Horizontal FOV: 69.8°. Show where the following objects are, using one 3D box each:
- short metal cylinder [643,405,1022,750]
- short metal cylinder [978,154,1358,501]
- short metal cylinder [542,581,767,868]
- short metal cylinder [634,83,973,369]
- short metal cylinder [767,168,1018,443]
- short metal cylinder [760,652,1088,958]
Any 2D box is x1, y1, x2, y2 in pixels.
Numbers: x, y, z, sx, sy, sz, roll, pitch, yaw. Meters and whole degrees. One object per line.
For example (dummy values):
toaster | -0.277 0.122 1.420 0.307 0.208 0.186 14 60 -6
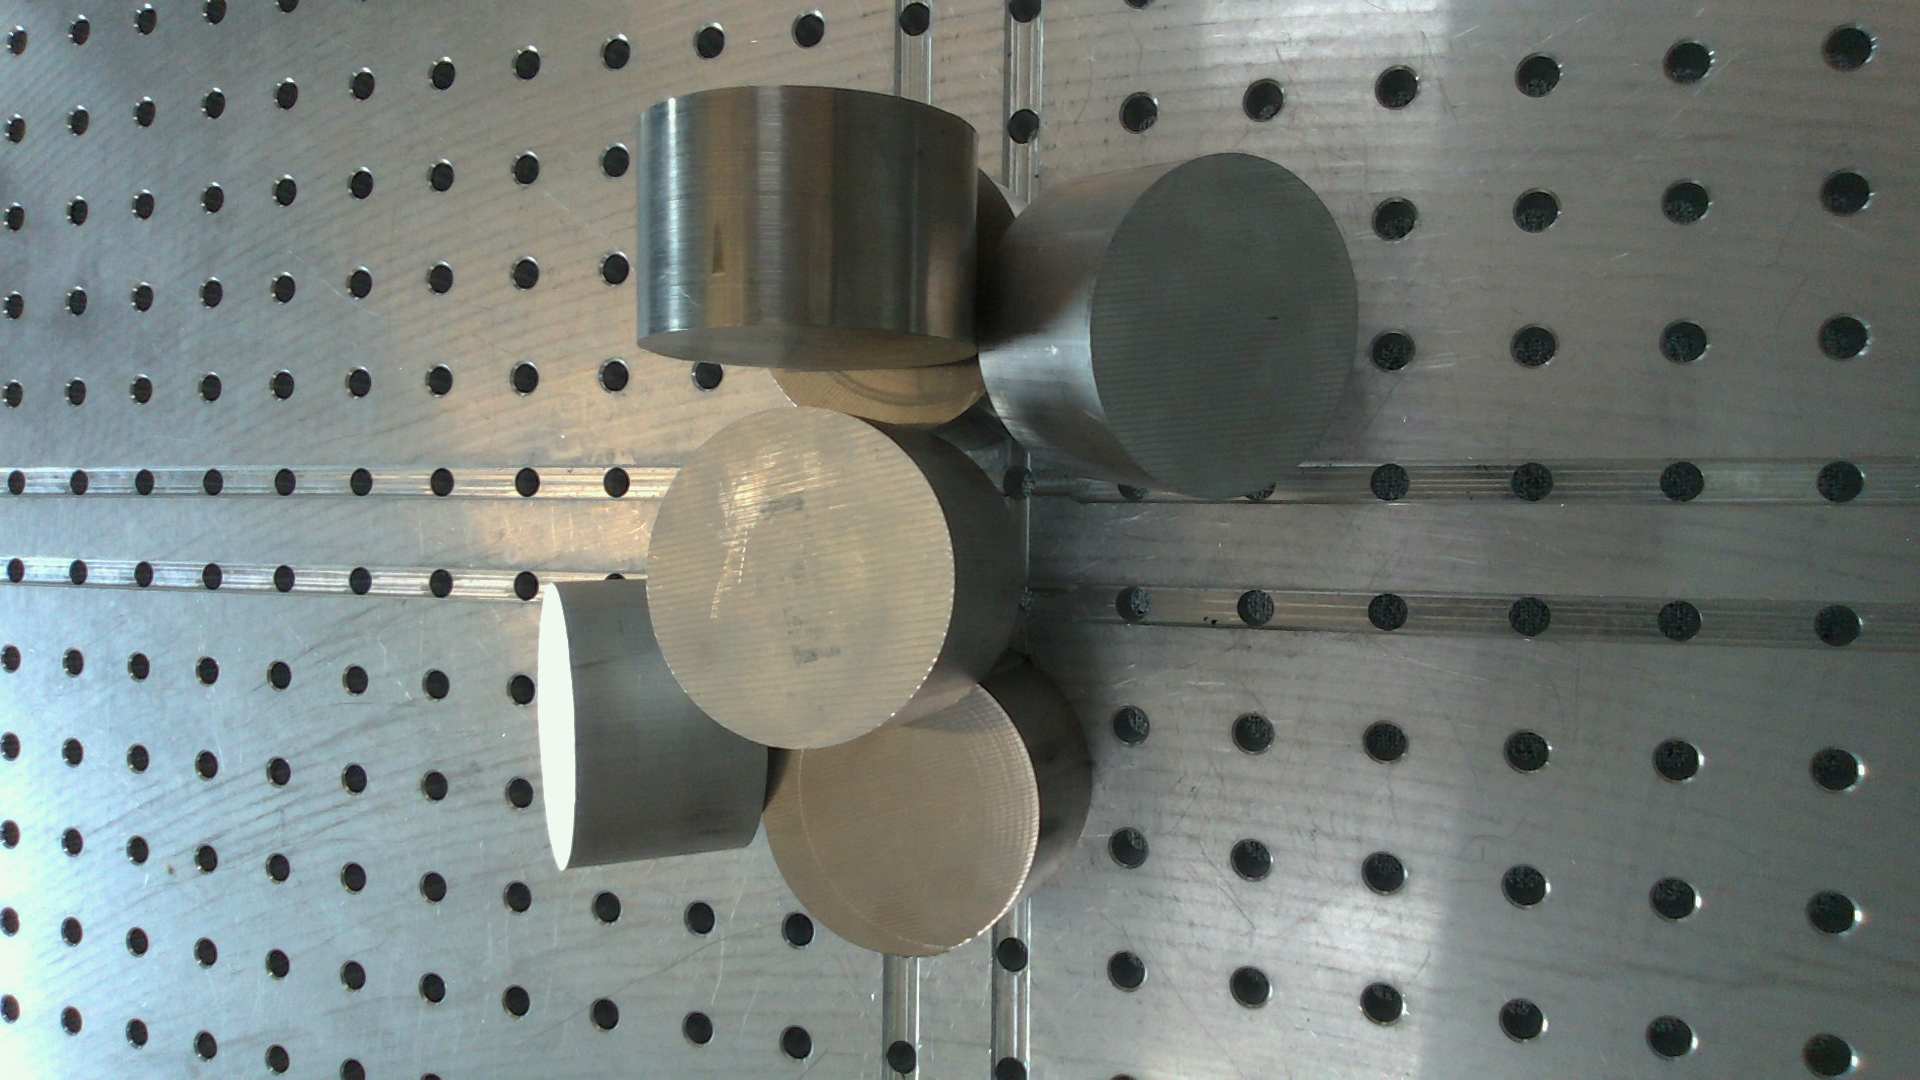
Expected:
short metal cylinder | -0.030 0.009 0.342 0.080 0.050 0.080 0 90 20
short metal cylinder | 0.052 -0.052 0.343 0.050 0.080 0.080 16 97 60
short metal cylinder | -0.091 0.051 0.396 0.050 0.080 0.080 -2 89 -24
short metal cylinder | -0.037 -0.071 0.328 0.080 0.080 0.050 0 90 20
short metal cylinder | -0.012 -0.067 0.389 0.080 0.050 0.080 0 91 20
short metal cylinder | -0.009 0.070 0.388 0.080 0.050 0.080 0 91 20
